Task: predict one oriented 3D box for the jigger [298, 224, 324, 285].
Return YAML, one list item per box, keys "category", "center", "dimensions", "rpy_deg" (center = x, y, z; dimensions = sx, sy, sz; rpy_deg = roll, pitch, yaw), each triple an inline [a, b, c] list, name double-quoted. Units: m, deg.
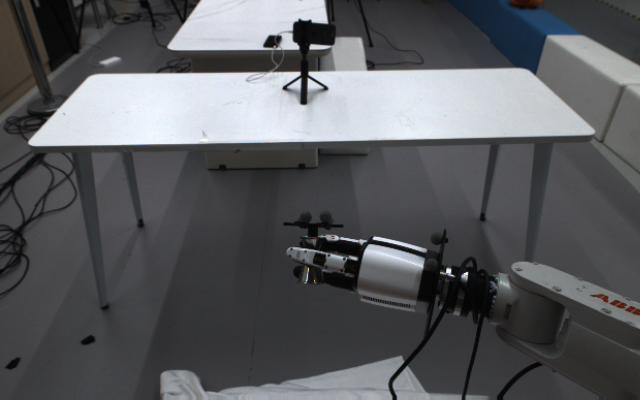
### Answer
- category: "jigger"
  center: [-0.012, 0.087, 0.714]
  dimensions: [0.043, 0.071, 0.043]
  rpy_deg: [2, -6, 0]
